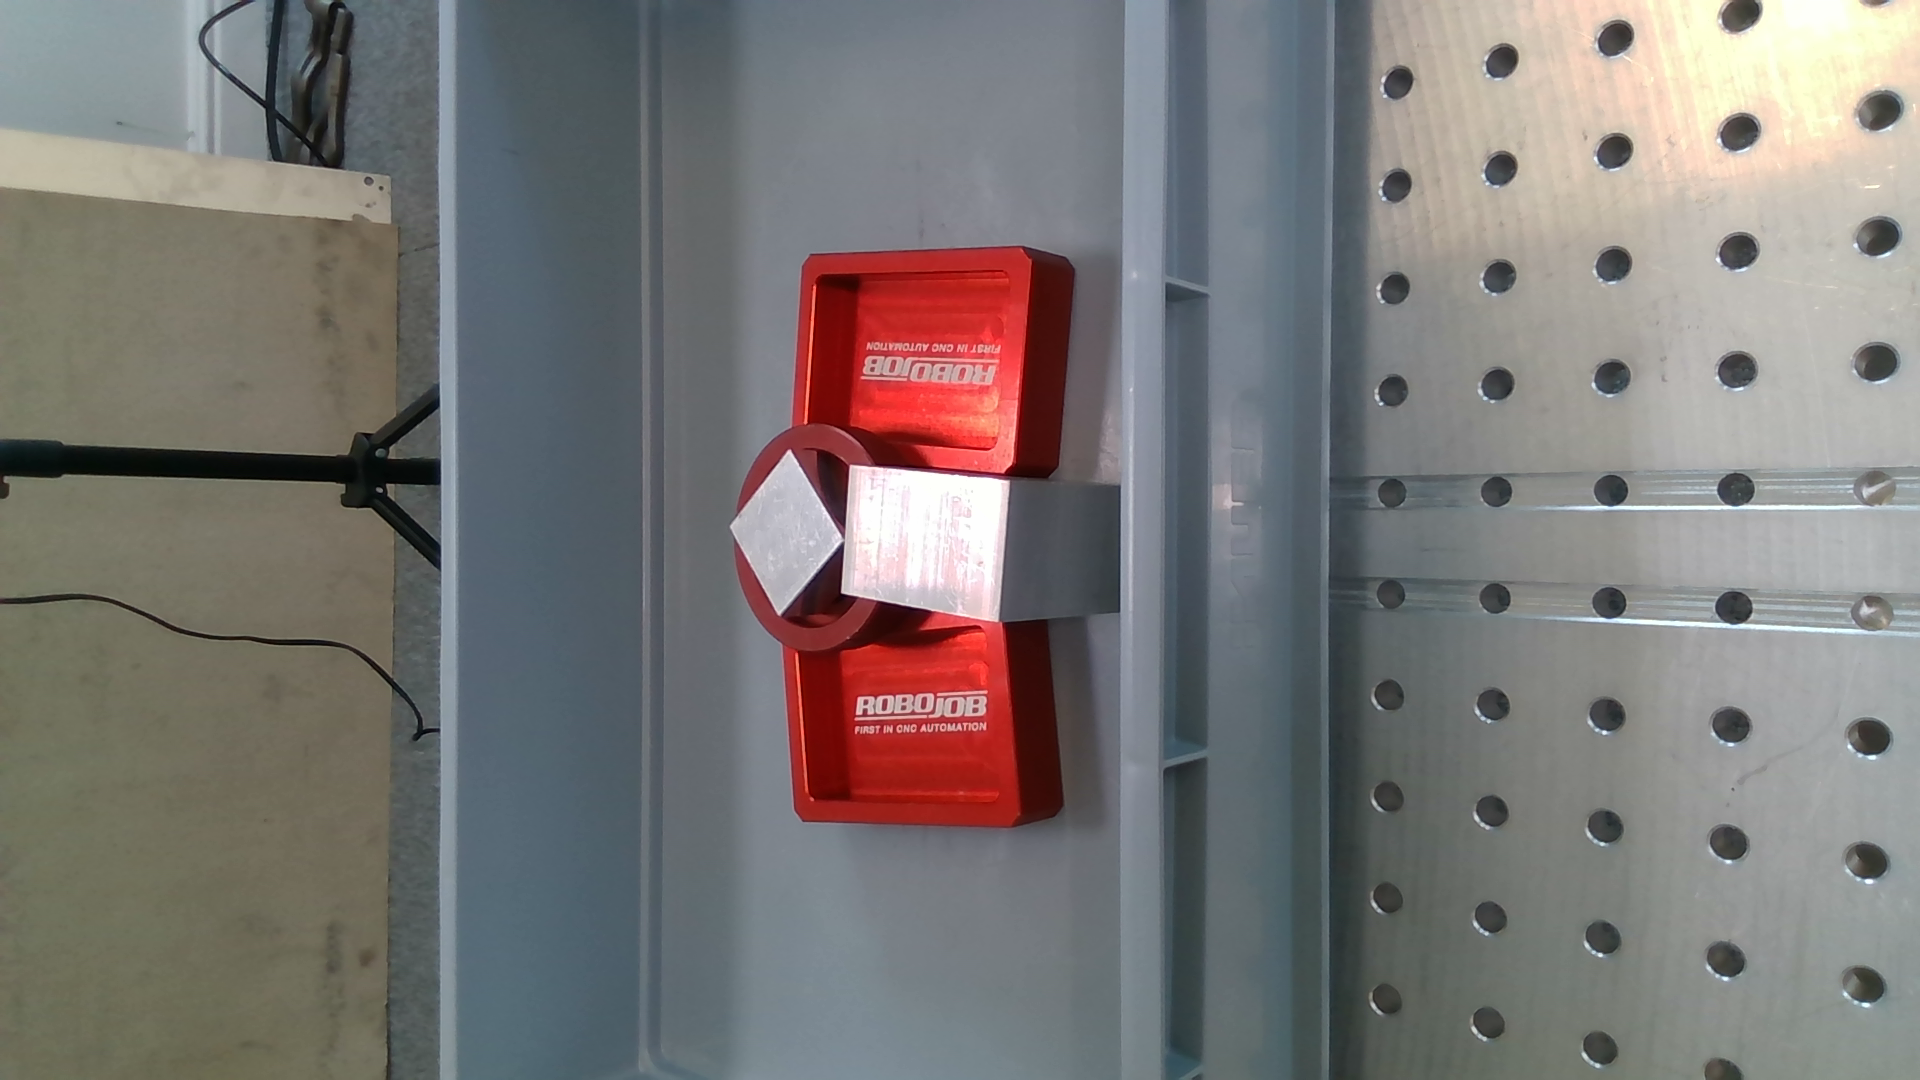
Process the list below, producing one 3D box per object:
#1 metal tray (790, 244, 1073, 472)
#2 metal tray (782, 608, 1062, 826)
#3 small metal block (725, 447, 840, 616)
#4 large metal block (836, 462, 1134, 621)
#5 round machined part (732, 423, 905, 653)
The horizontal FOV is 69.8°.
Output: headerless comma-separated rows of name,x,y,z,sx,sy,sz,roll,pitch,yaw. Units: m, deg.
metal tray,-0.016,-0.077,0.589,0.130,0.030,0.090,8,96,40
metal tray,-0.020,0.075,0.595,0.130,0.030,0.090,-9,85,40
small metal block,-0.066,-0.004,0.582,0.050,0.025,0.050,-47,62,30
large metal block,0.010,-0.001,0.536,0.080,0.080,0.050,8,96,40
round machined part,-0.052,-0.001,0.601,0.098,0.042,0.098,0,91,40
